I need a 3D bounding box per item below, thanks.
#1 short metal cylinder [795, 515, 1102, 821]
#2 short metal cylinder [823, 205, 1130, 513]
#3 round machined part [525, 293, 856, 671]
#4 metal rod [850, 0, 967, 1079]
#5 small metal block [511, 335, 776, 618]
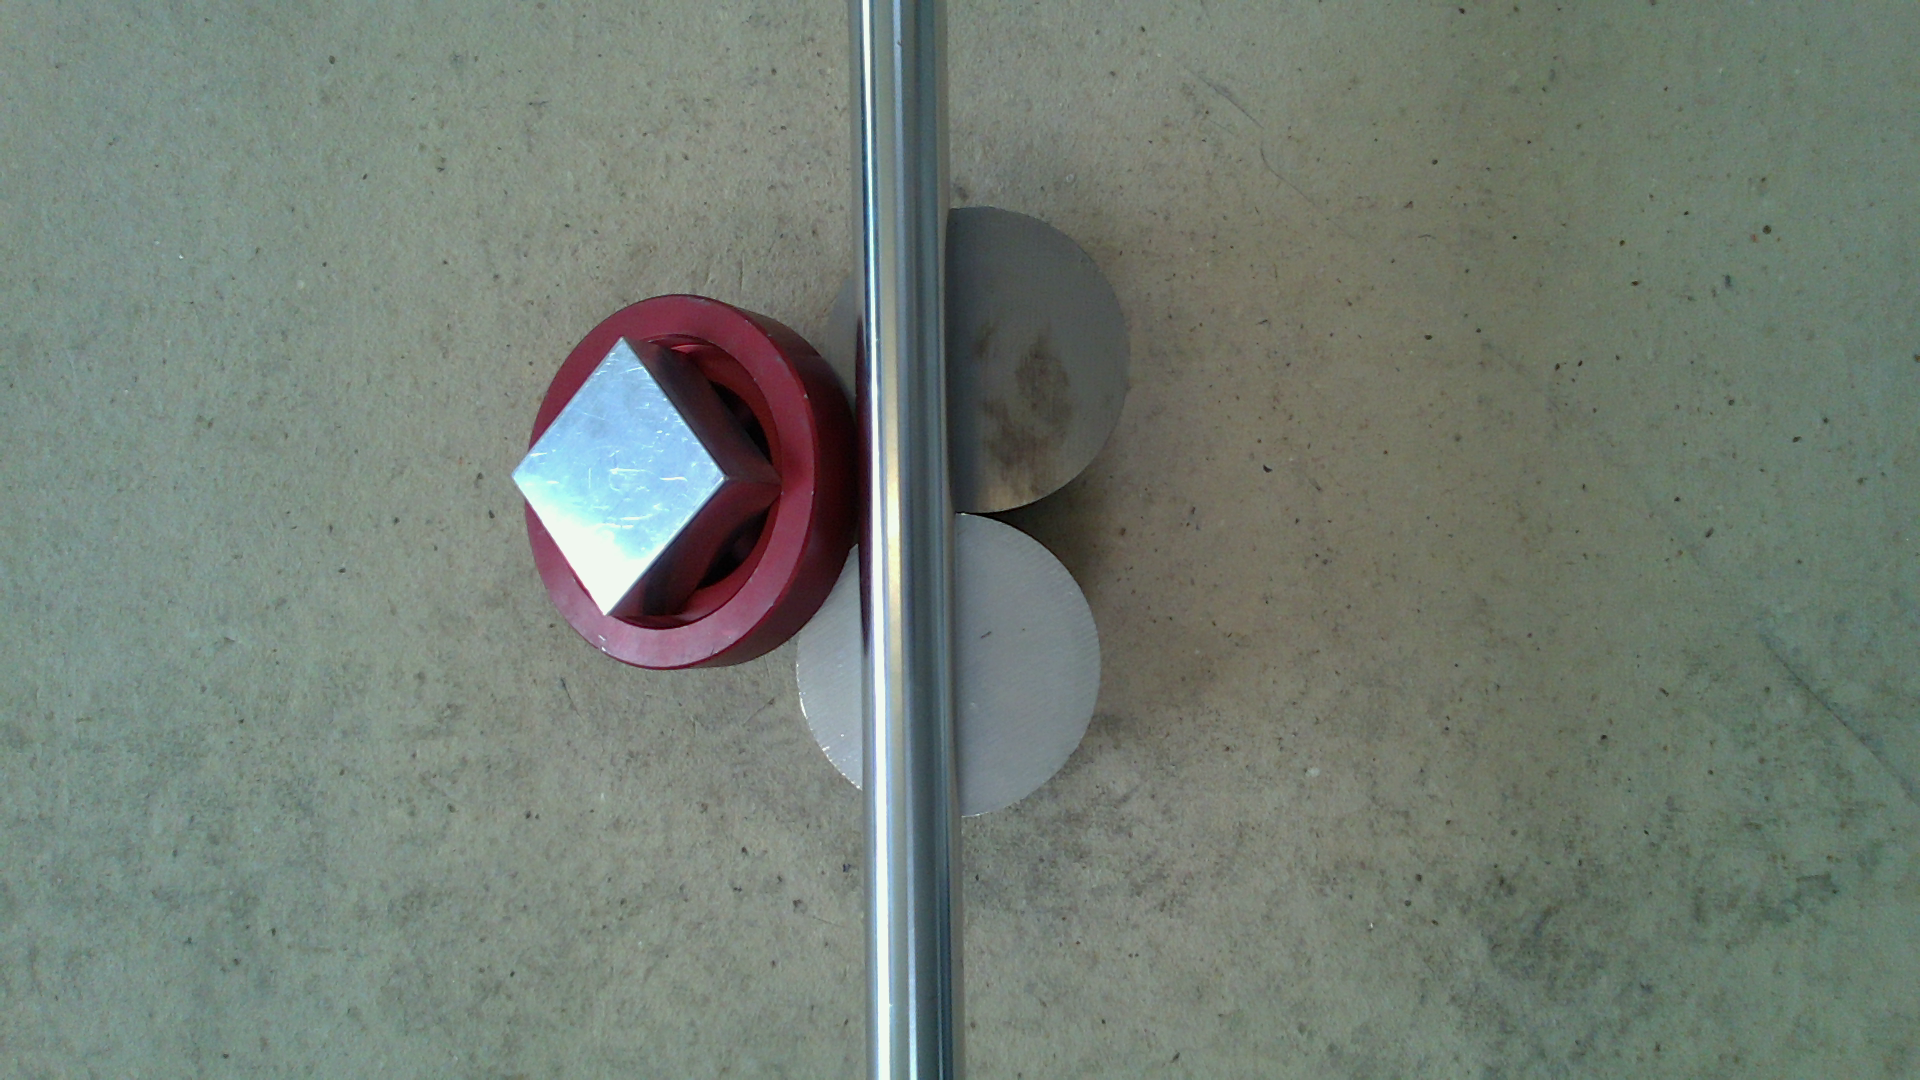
[{"bbox_3d":[-0.003,0.034,0.382,0.080,0.050,0.080,0,89,0],"label":"short metal cylinder"},{"bbox_3d":[0.004,-0.047,0.383,0.080,0.050,0.080,0,90,0],"label":"short metal cylinder"},{"bbox_3d":[-0.068,-0.014,0.374,0.098,0.042,0.098,-1,87,29],"label":"round machined part"},{"bbox_3d":[-0.013,-0.011,0.346,0.025,0.025,0.300,-1,90,0],"label":"metal rod"},{"bbox_3d":[-0.081,-0.015,0.354,0.050,0.025,0.050,-46,68,19],"label":"small metal block"}]
